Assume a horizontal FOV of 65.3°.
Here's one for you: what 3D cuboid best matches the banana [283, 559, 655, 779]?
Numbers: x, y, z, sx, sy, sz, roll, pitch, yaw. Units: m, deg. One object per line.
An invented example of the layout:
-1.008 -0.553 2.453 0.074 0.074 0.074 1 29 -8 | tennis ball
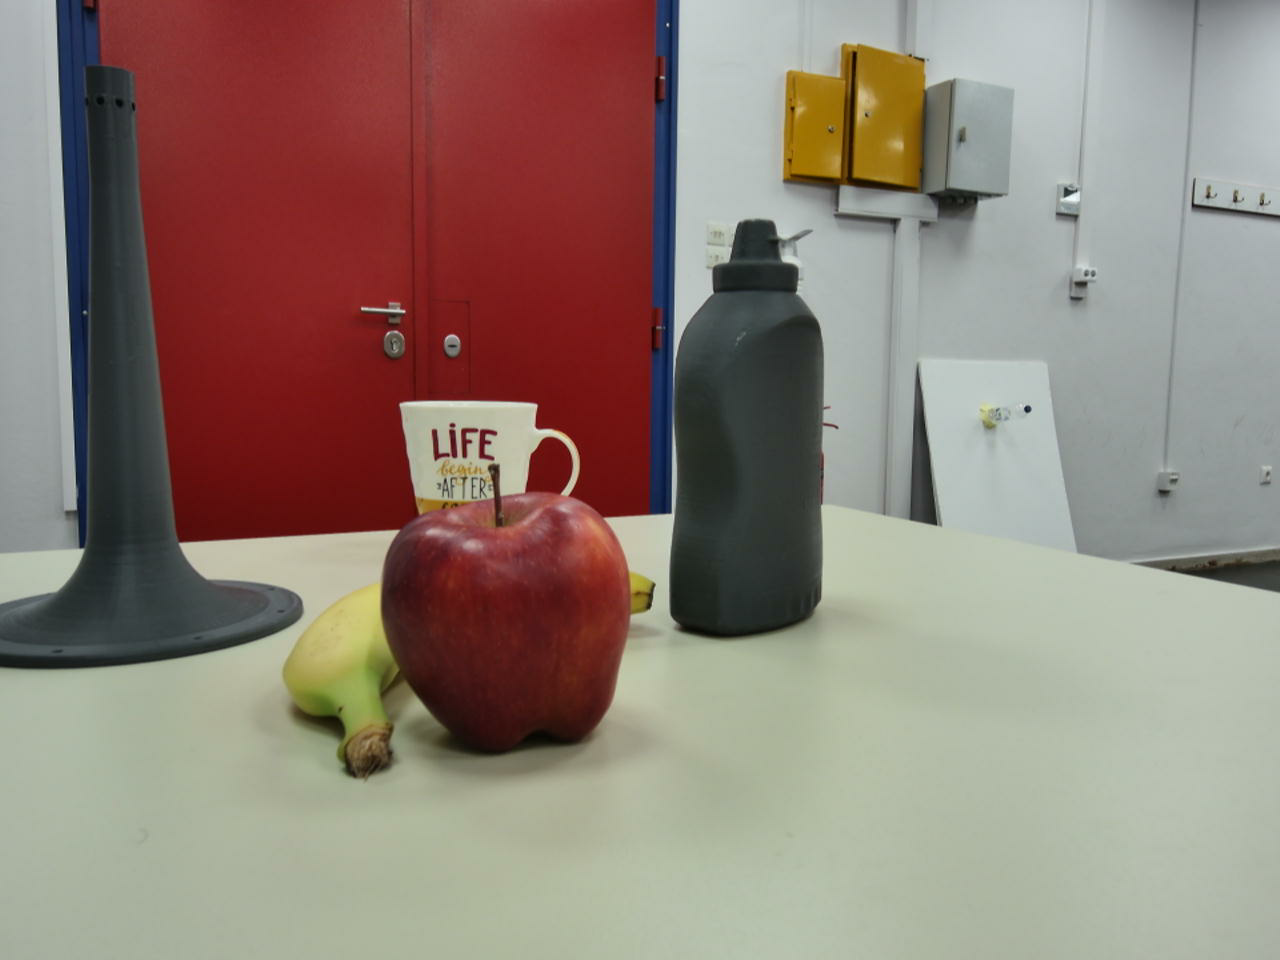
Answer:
-0.075 0.060 0.399 0.094 0.041 0.196 2 5 28 | banana
